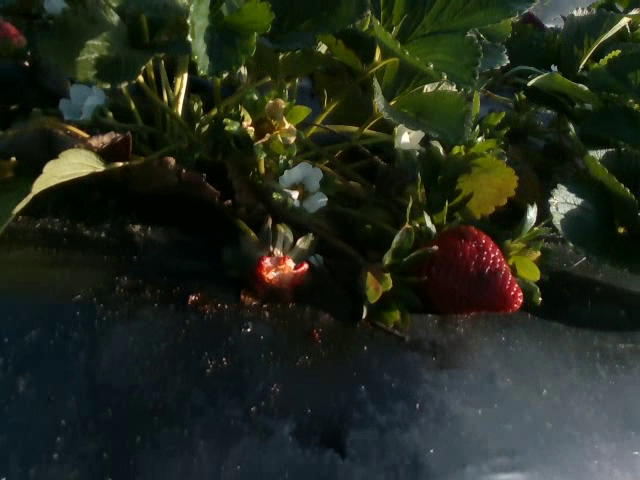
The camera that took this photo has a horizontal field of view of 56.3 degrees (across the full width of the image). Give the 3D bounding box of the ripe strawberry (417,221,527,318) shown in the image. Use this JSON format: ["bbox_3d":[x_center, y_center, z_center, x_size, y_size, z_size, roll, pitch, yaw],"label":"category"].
[{"bbox_3d":[0.069,0.017,0.263,0.052,0.041,0.051,-21,27,-18],"label":"ripe strawberry"}]
